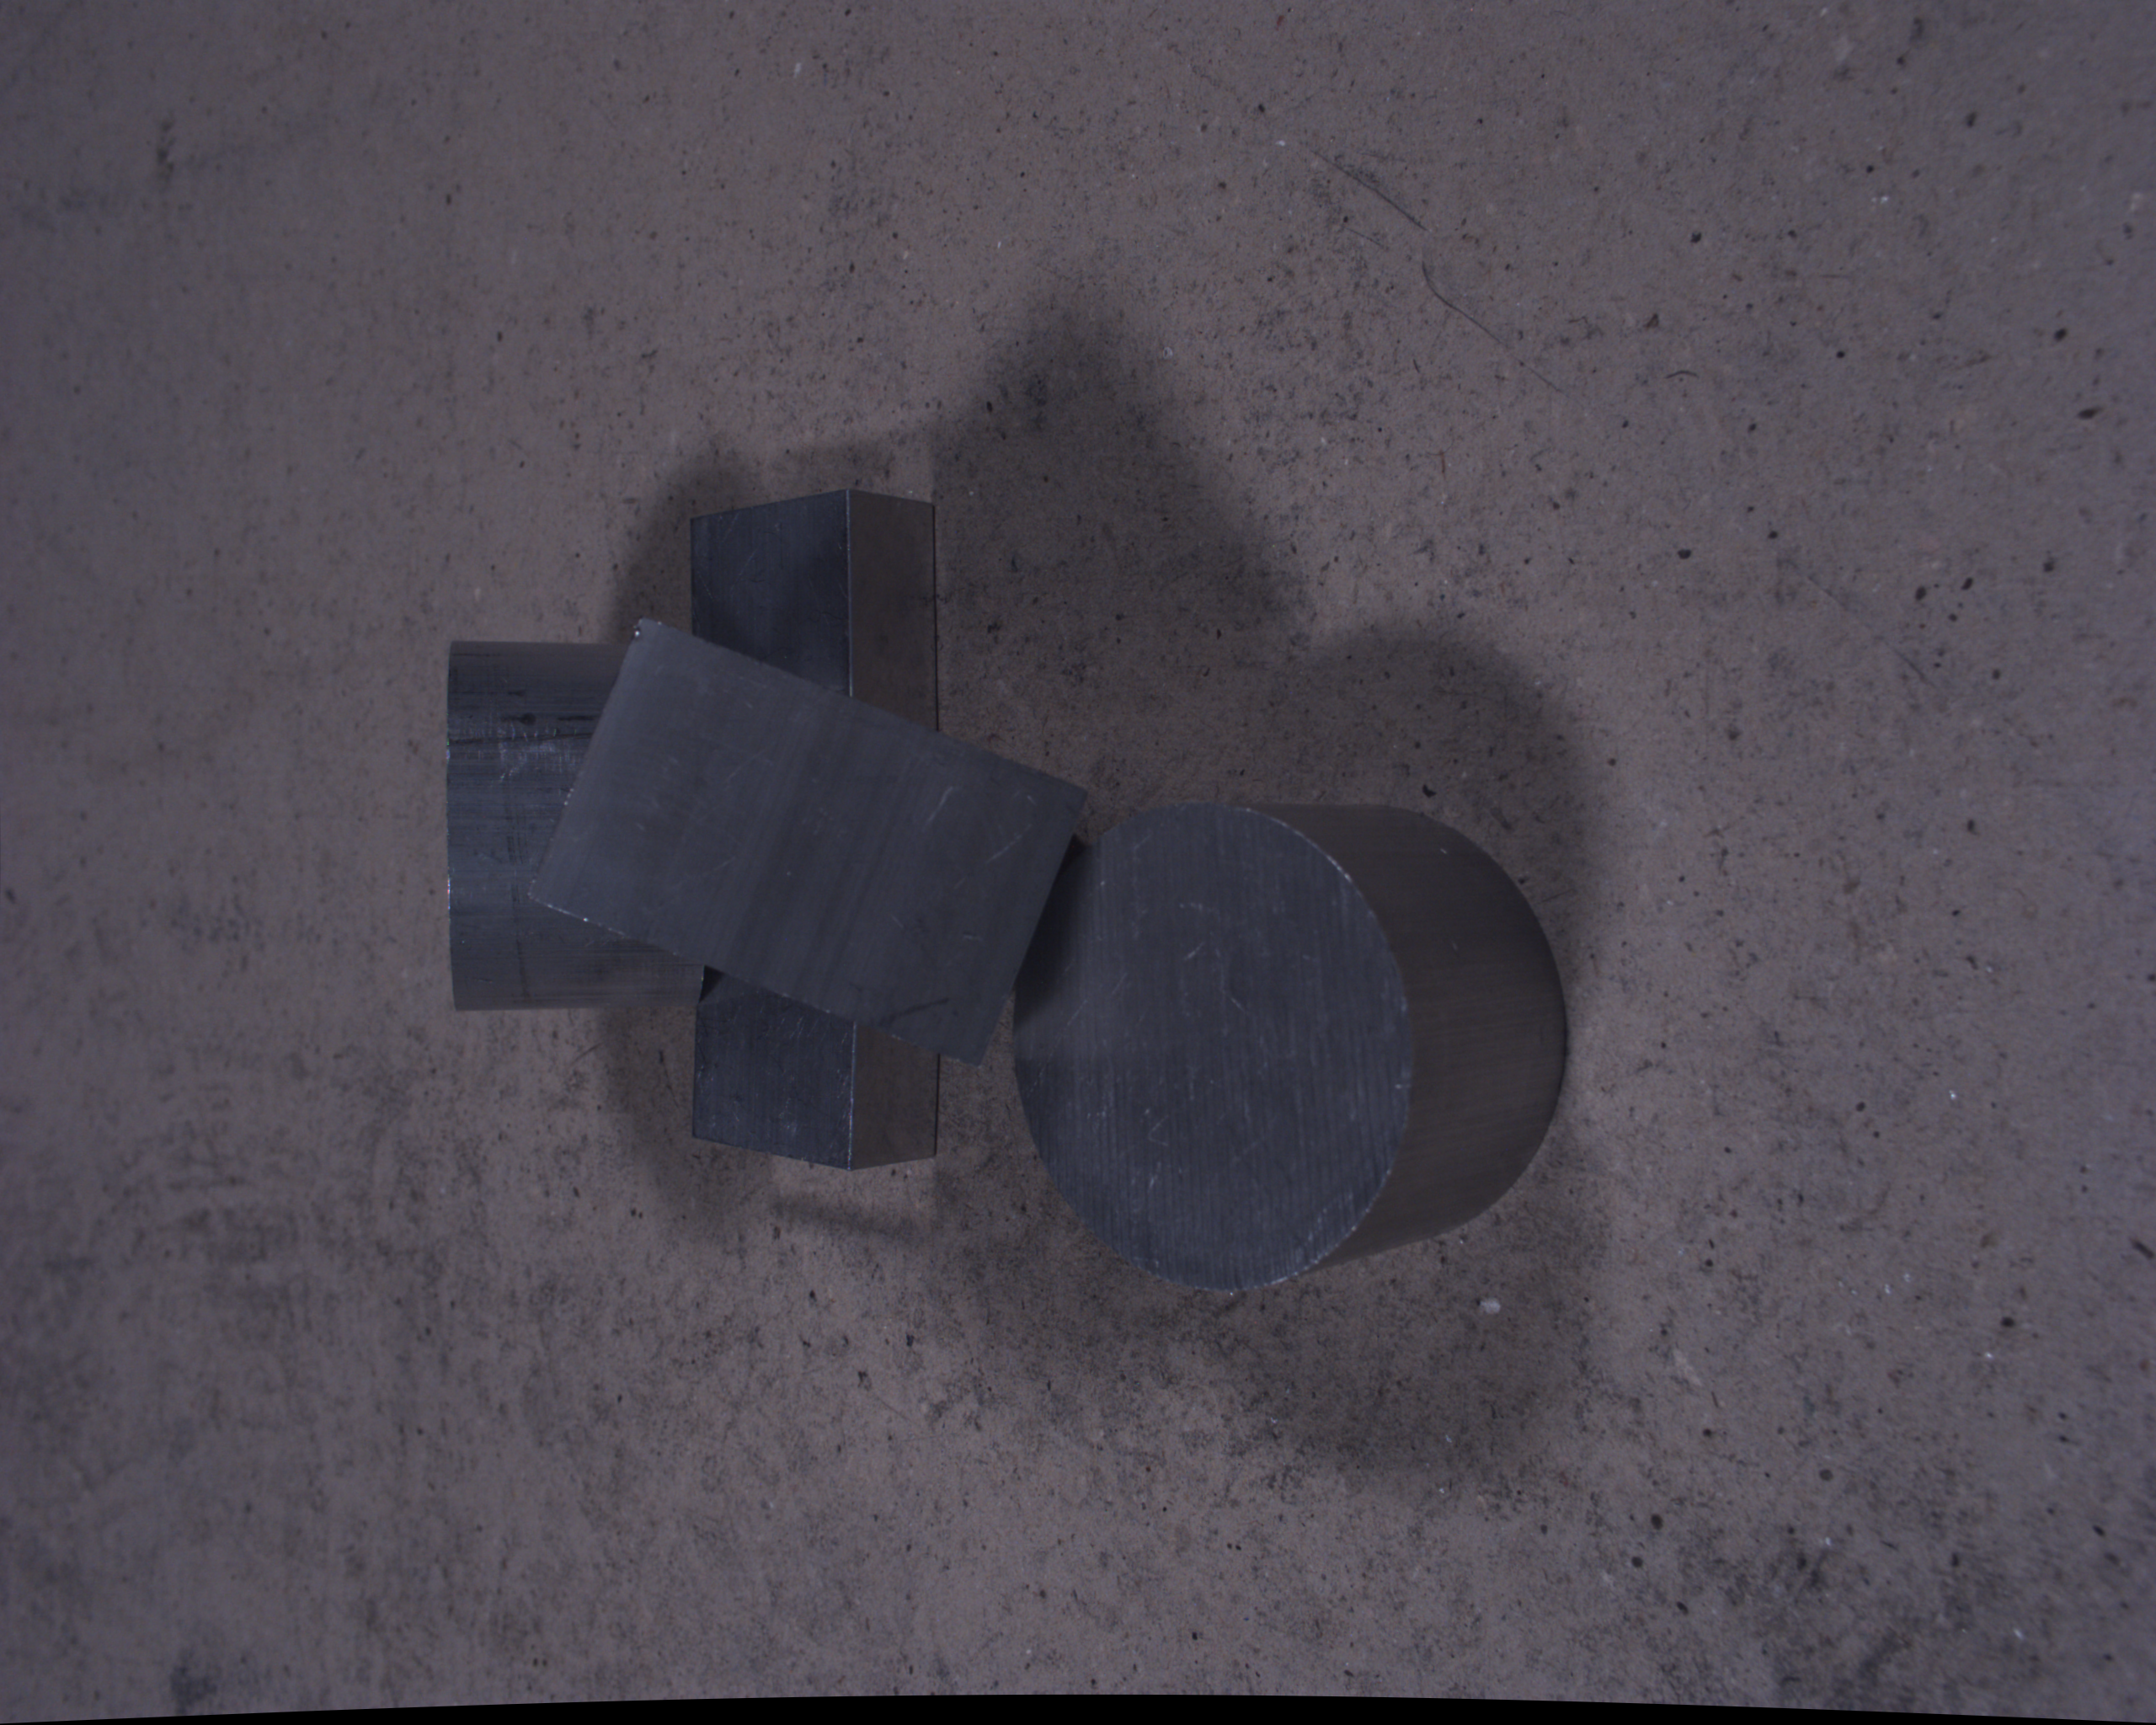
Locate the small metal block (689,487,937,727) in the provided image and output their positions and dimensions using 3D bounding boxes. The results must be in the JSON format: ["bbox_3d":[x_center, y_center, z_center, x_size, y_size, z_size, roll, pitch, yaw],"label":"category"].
[{"bbox_3d":[-0.058,-0.051,0.451,0.050,0.025,0.050,-1,89,39],"label":"small metal block"}]

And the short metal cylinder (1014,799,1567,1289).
[{"bbox_3d":[0.036,0.029,0.359,0.080,0.050,0.079,0,90,39],"label":"short metal cylinder"}]

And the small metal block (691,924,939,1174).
[{"bbox_3d":[-0.057,0.037,0.450,0.050,0.025,0.050,4,92,39],"label":"small metal block"}]

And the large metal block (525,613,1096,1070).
[{"bbox_3d":[-0.047,-0.002,0.383,0.080,0.080,0.050,21,87,-5],"label":"large metal block"}]

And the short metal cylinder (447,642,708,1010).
[{"bbox_3d":[-0.109,-0.008,0.454,0.080,0.050,0.079,180,89,-75],"label":"short metal cylinder"}]
